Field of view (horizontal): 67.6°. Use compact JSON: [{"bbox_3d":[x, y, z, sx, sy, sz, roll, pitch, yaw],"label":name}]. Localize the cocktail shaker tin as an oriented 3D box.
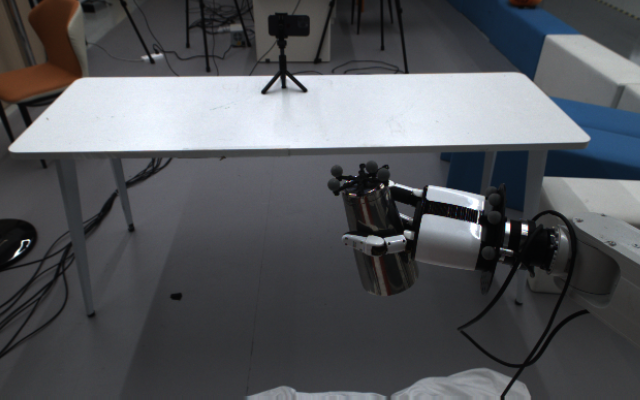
[{"bbox_3d":[0.086,0.047,0.719,0.093,0.170,0.093,-15,29,8],"label":"cocktail shaker tin"}]
